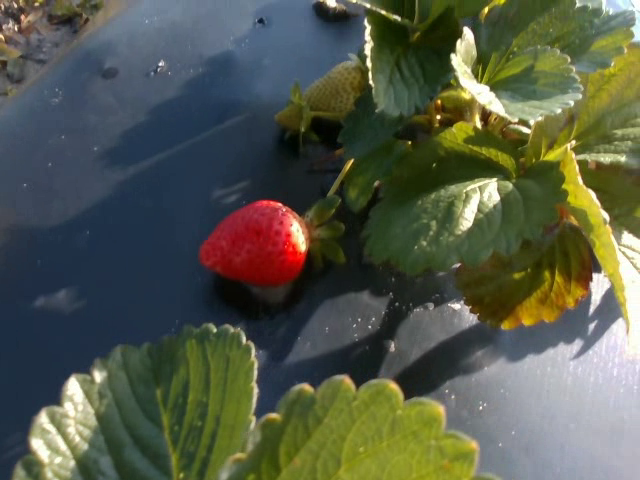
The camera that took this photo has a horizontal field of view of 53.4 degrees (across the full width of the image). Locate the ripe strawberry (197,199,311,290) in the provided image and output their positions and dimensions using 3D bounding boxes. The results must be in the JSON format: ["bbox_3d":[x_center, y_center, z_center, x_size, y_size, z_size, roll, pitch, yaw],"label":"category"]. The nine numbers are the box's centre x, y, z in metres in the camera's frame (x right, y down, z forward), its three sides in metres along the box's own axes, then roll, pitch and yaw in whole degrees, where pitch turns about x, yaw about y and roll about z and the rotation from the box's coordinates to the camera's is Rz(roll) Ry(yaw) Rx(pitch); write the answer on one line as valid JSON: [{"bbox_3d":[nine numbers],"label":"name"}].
[{"bbox_3d":[-0.023,0.003,0.204,0.044,0.033,0.030,-12,14,-16],"label":"ripe strawberry"}]
